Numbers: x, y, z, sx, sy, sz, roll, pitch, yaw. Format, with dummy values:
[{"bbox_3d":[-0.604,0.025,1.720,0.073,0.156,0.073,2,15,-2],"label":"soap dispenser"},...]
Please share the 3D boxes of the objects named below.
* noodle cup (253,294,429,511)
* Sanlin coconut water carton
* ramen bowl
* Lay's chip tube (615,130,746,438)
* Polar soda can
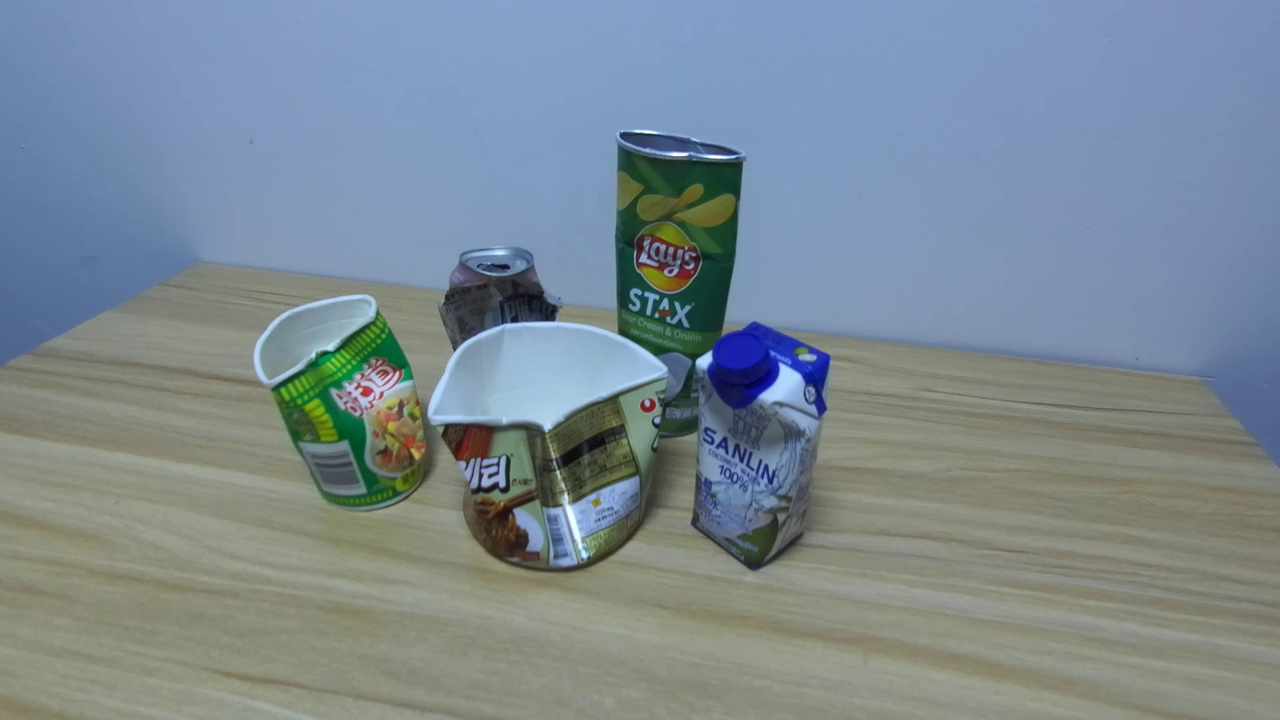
[{"bbox_3d":[-0.178,0.028,0.439,0.083,0.122,0.075,-32,38,-29],"label":"noodle cup"},{"bbox_3d":[0.064,0.044,0.394,0.058,0.142,0.077,-30,42,-33],"label":"Sanlin coconut water carton"},{"bbox_3d":[-0.049,0.045,0.430,0.137,0.098,0.137,2,31,-1],"label":"ramen bowl"},{"bbox_3d":[0.022,-0.047,0.484,0.075,0.199,0.069,-2,30,-5],"label":"Lay's chip tube"},{"bbox_3d":[-0.101,-0.027,0.535,0.070,0.114,0.074,16,34,22],"label":"Polar soda can"}]
